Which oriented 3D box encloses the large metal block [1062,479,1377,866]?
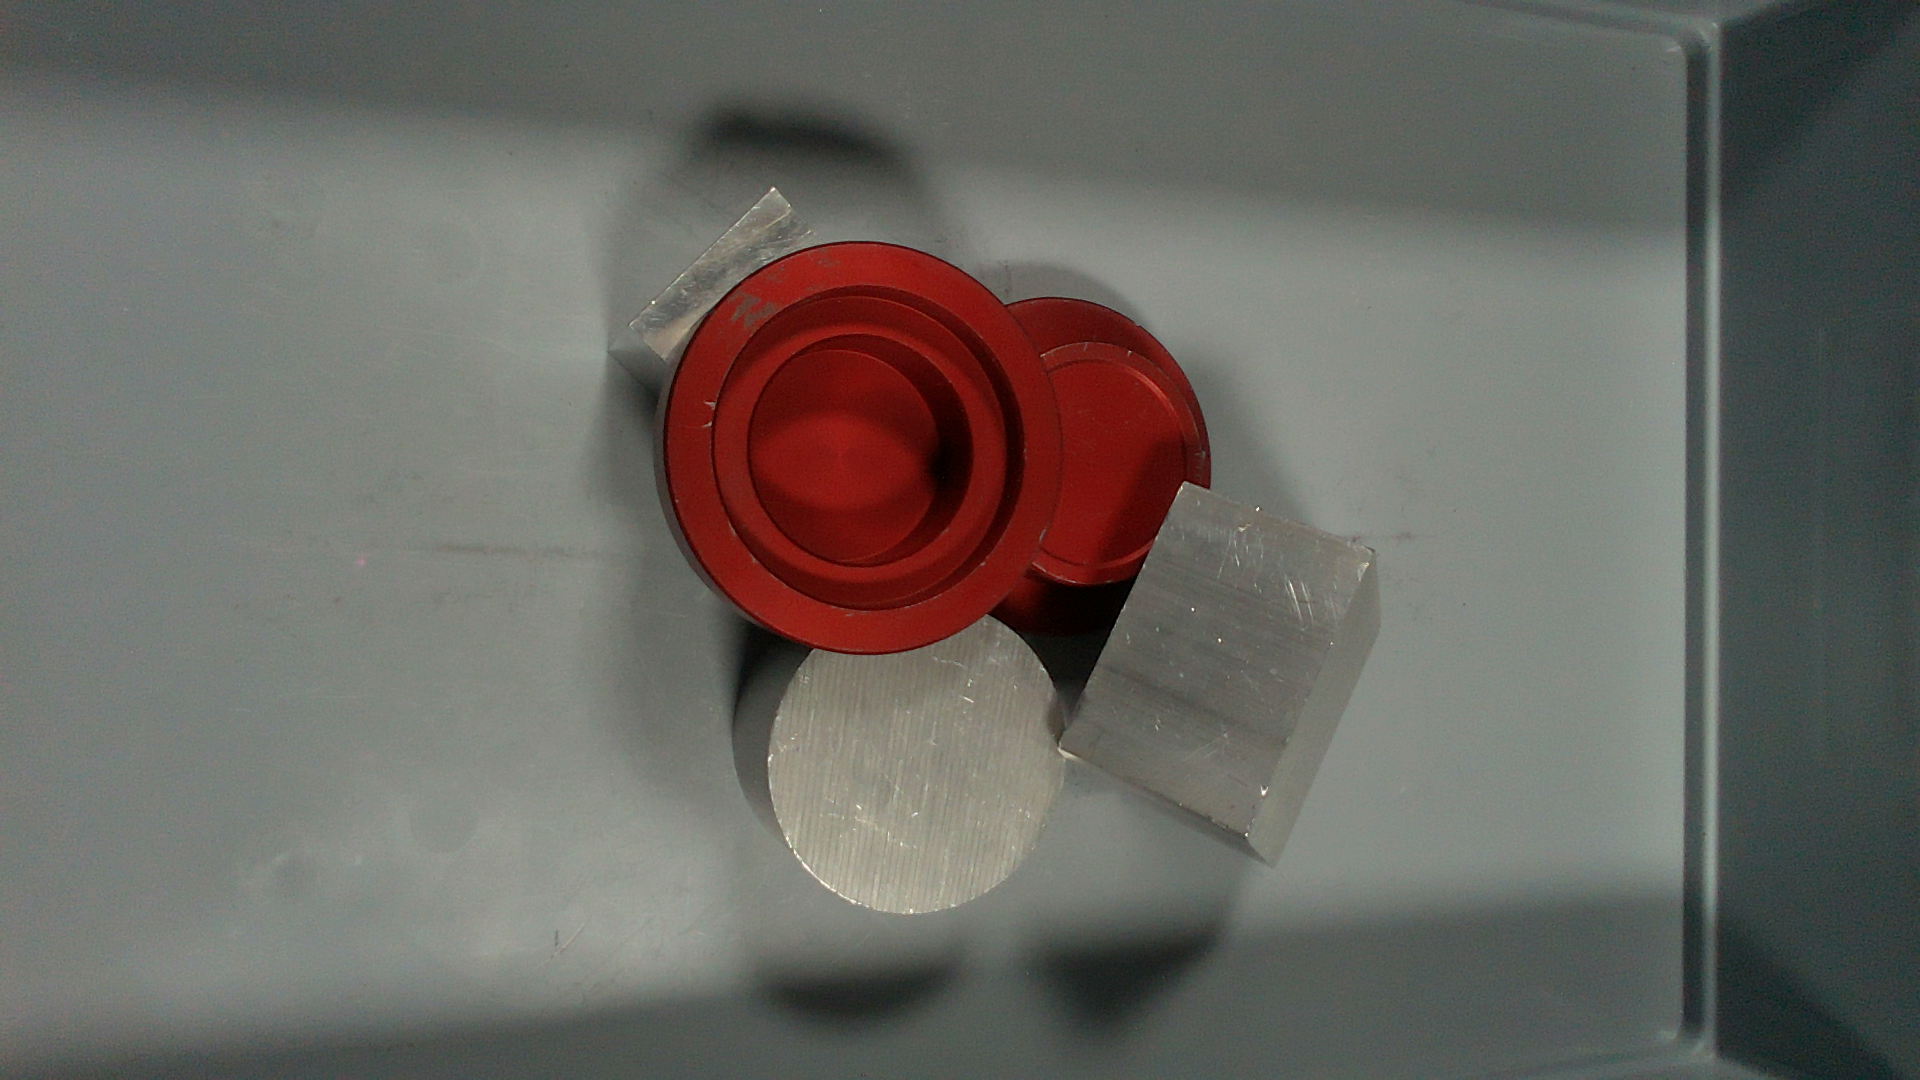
[{"bbox_3d":[0.076,0.041,0.384,0.050,0.080,0.080,22,79,23],"label":"large metal block"}]

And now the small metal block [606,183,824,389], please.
[{"bbox_3d":[-0.062,-0.060,0.356,0.025,0.050,0.050,46,77,-14],"label":"small metal block"}]

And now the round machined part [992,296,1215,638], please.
[{"bbox_3d":[0.030,-0.021,0.392,0.098,0.042,0.098,0,90,-20],"label":"round machined part"}]

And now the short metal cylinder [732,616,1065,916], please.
[{"bbox_3d":[-0.018,0.055,0.372,0.080,0.050,0.080,0,90,-20],"label":"short metal cylinder"}]

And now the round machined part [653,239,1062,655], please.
[{"bbox_3d":[-0.028,-0.022,0.342,0.098,0.042,0.098,0,90,-20],"label":"round machined part"}]
